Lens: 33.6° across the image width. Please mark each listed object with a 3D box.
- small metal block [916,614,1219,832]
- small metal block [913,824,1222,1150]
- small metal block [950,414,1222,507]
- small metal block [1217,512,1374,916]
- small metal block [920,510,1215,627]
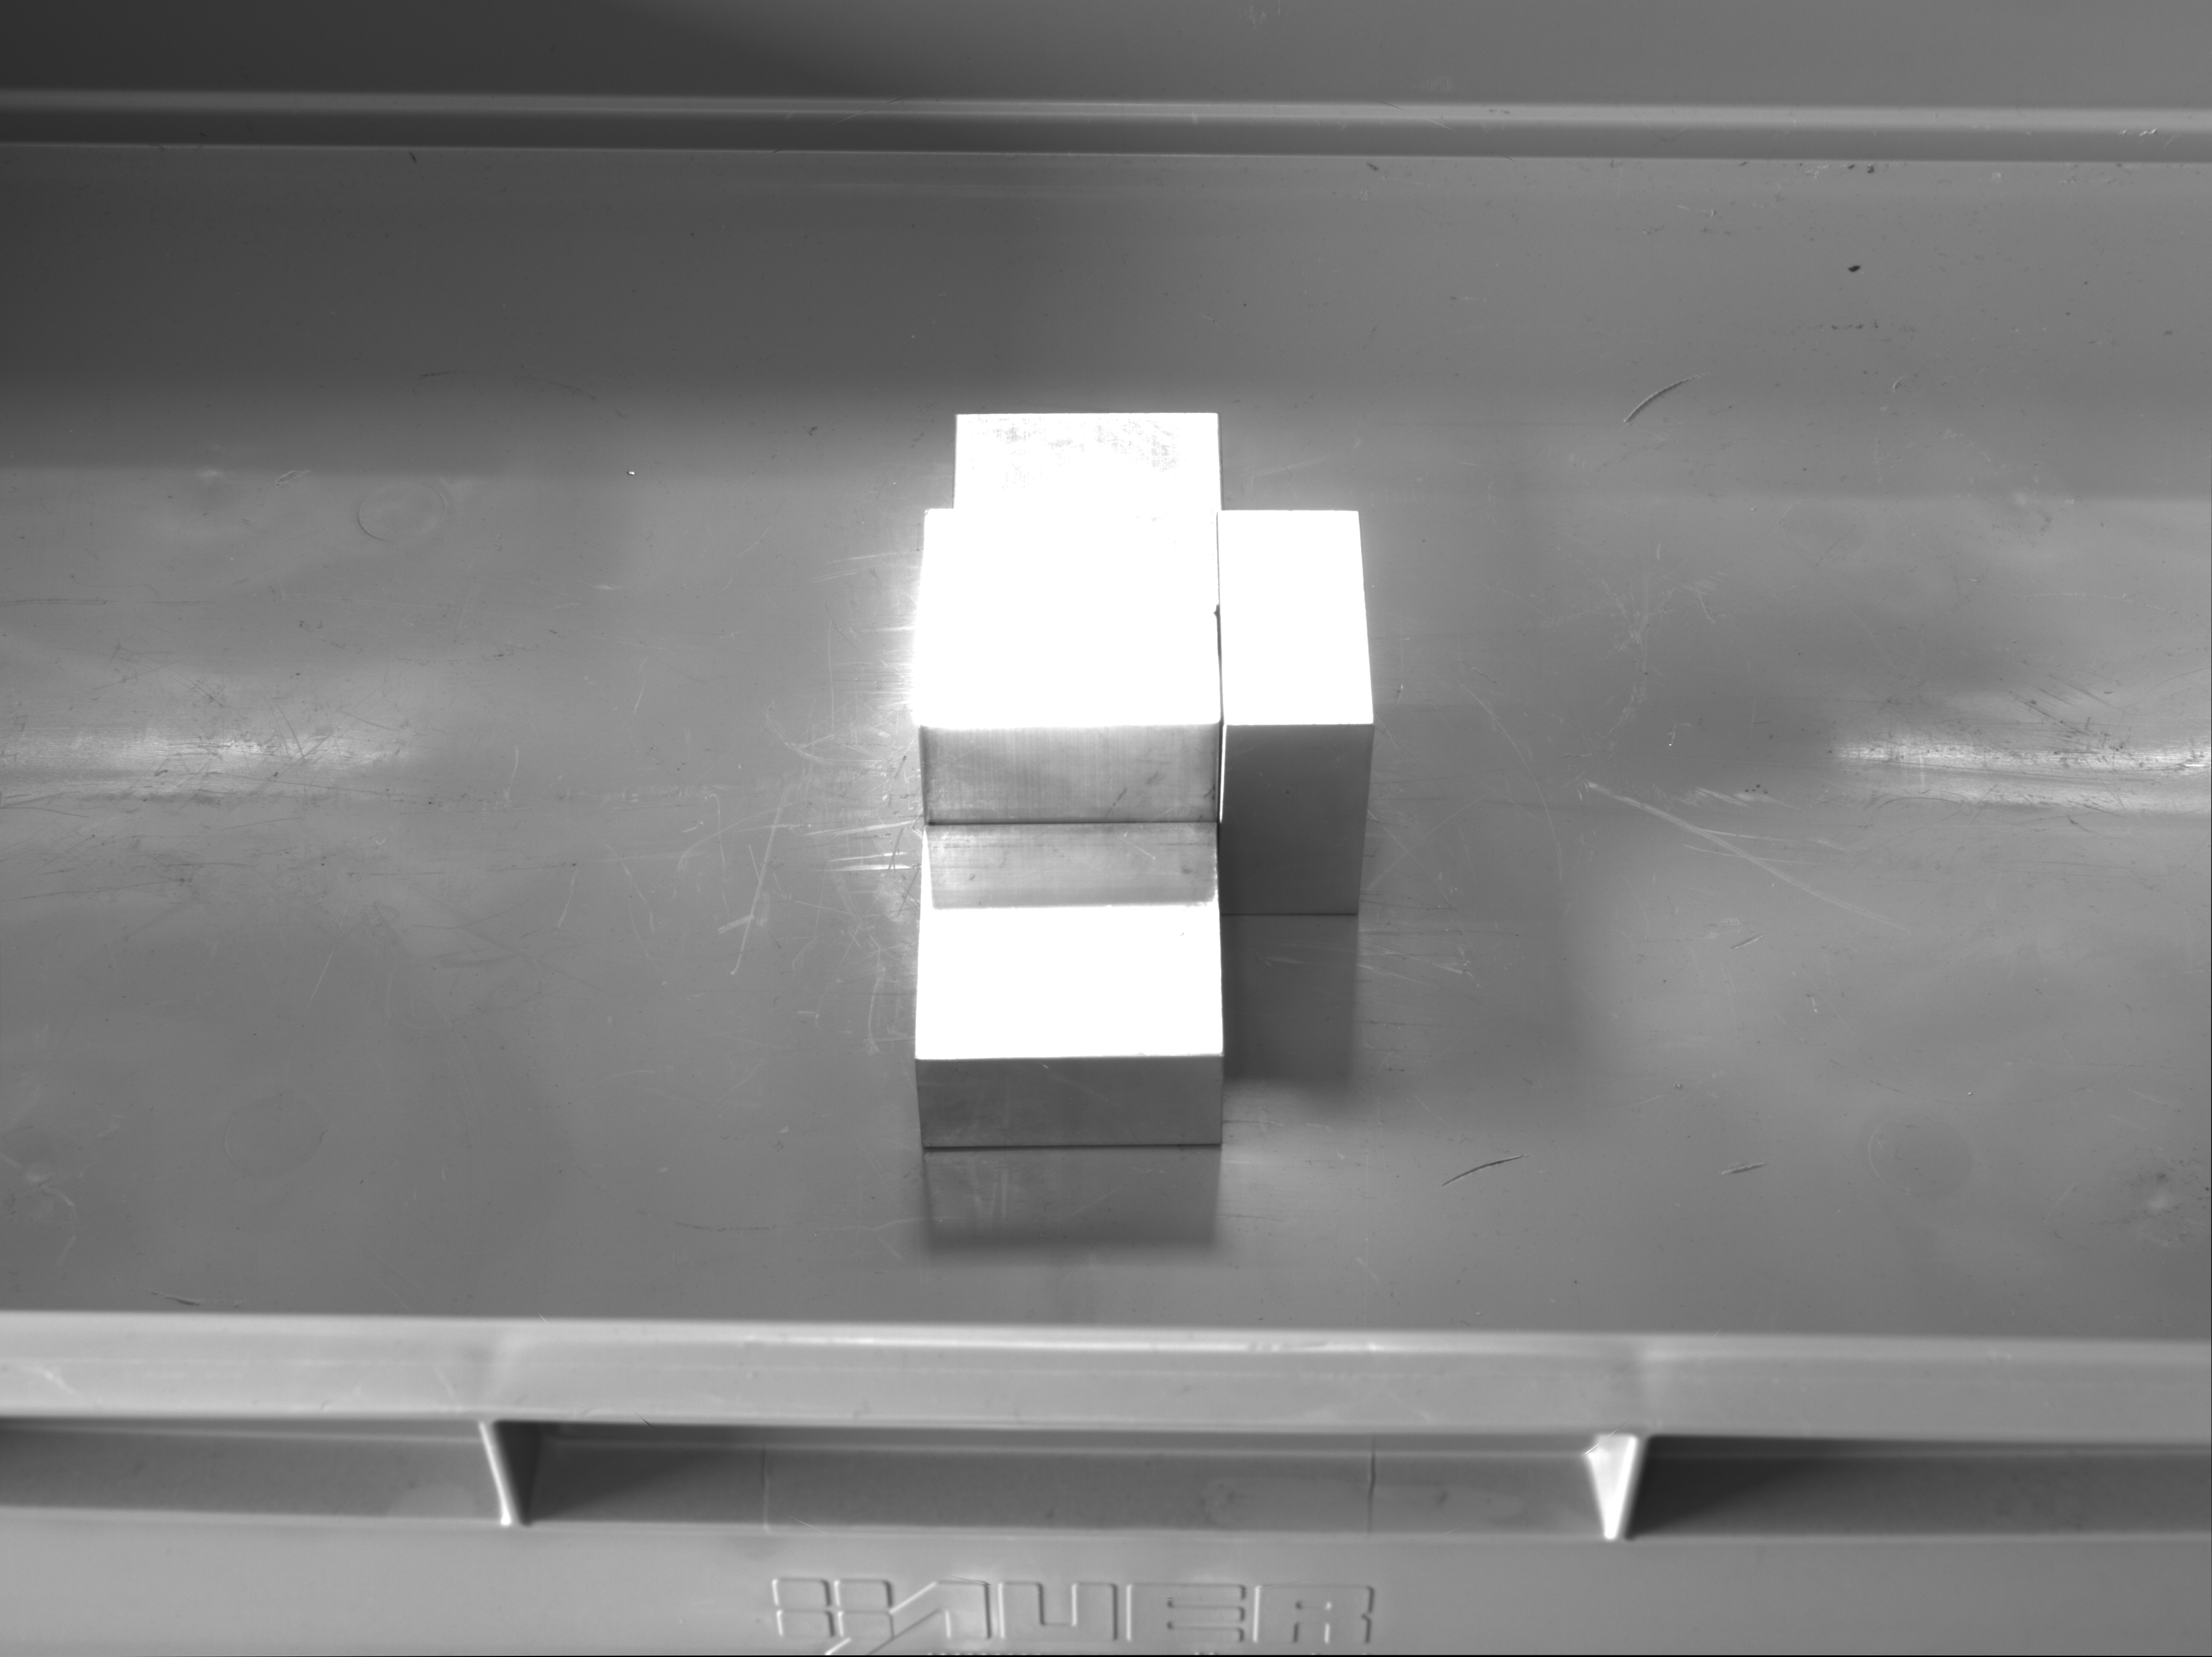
[{"bbox_3d":[-0.006,-0.011,0.633,0.050,0.050,0.025,0,50,0],"label":"small metal block"},{"bbox_3d":[-0.006,0.026,0.618,0.050,0.025,0.050,0,50,0],"label":"small metal block"},{"bbox_3d":[-0.004,-0.051,0.683,0.050,0.025,0.050,0,50,0],"label":"small metal block"},{"bbox_3d":[0.032,-0.020,0.640,0.025,0.050,0.050,0,50,0],"label":"small metal block"},{"bbox_3d":[-0.006,-0.030,0.649,0.050,0.050,0.025,0,50,0],"label":"small metal block"}]
